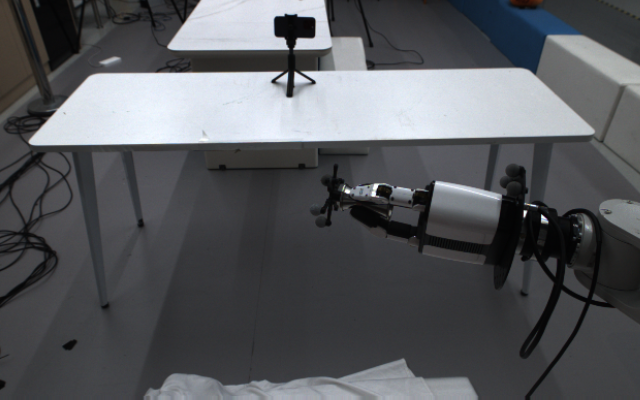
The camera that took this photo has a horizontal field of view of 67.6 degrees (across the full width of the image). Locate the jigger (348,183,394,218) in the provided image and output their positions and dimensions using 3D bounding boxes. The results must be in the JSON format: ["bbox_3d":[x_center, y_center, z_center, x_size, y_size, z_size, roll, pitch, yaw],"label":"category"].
[{"bbox_3d":[0.071,-0.003,0.664,0.071,0.043,0.043,9,35,16],"label":"jigger"}]
